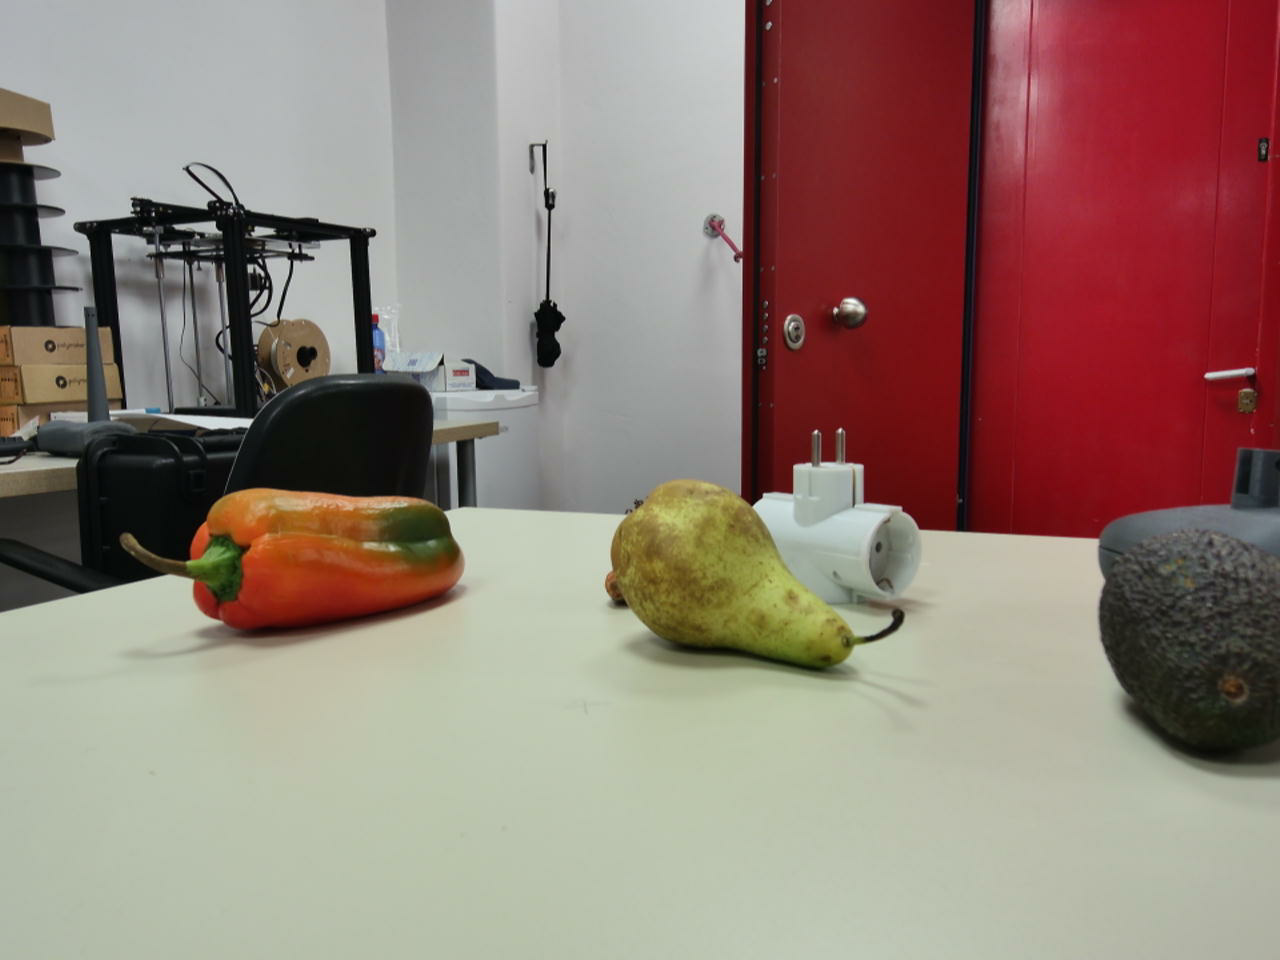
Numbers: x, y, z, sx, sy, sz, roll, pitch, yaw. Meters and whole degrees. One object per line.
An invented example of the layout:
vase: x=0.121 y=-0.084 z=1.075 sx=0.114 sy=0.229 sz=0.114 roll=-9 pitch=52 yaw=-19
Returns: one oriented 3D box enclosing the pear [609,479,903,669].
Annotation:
pear: x=0.054 y=0.039 z=0.435 sx=0.144 sy=0.075 sz=0.071 roll=2 pitch=4 yaw=32
